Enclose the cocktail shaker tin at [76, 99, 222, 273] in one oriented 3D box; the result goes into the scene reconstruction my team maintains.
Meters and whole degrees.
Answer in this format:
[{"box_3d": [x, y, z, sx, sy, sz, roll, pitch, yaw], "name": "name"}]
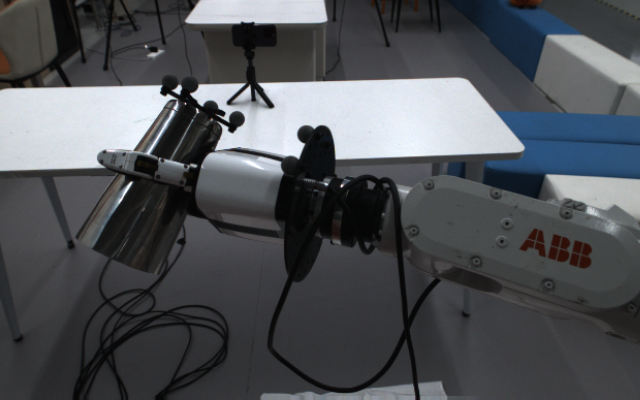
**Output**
[{"box_3d": [-0.171, -0.019, 0.516, 0.093, 0.093, 0.170, 21, 81, 25], "name": "cocktail shaker tin"}]
